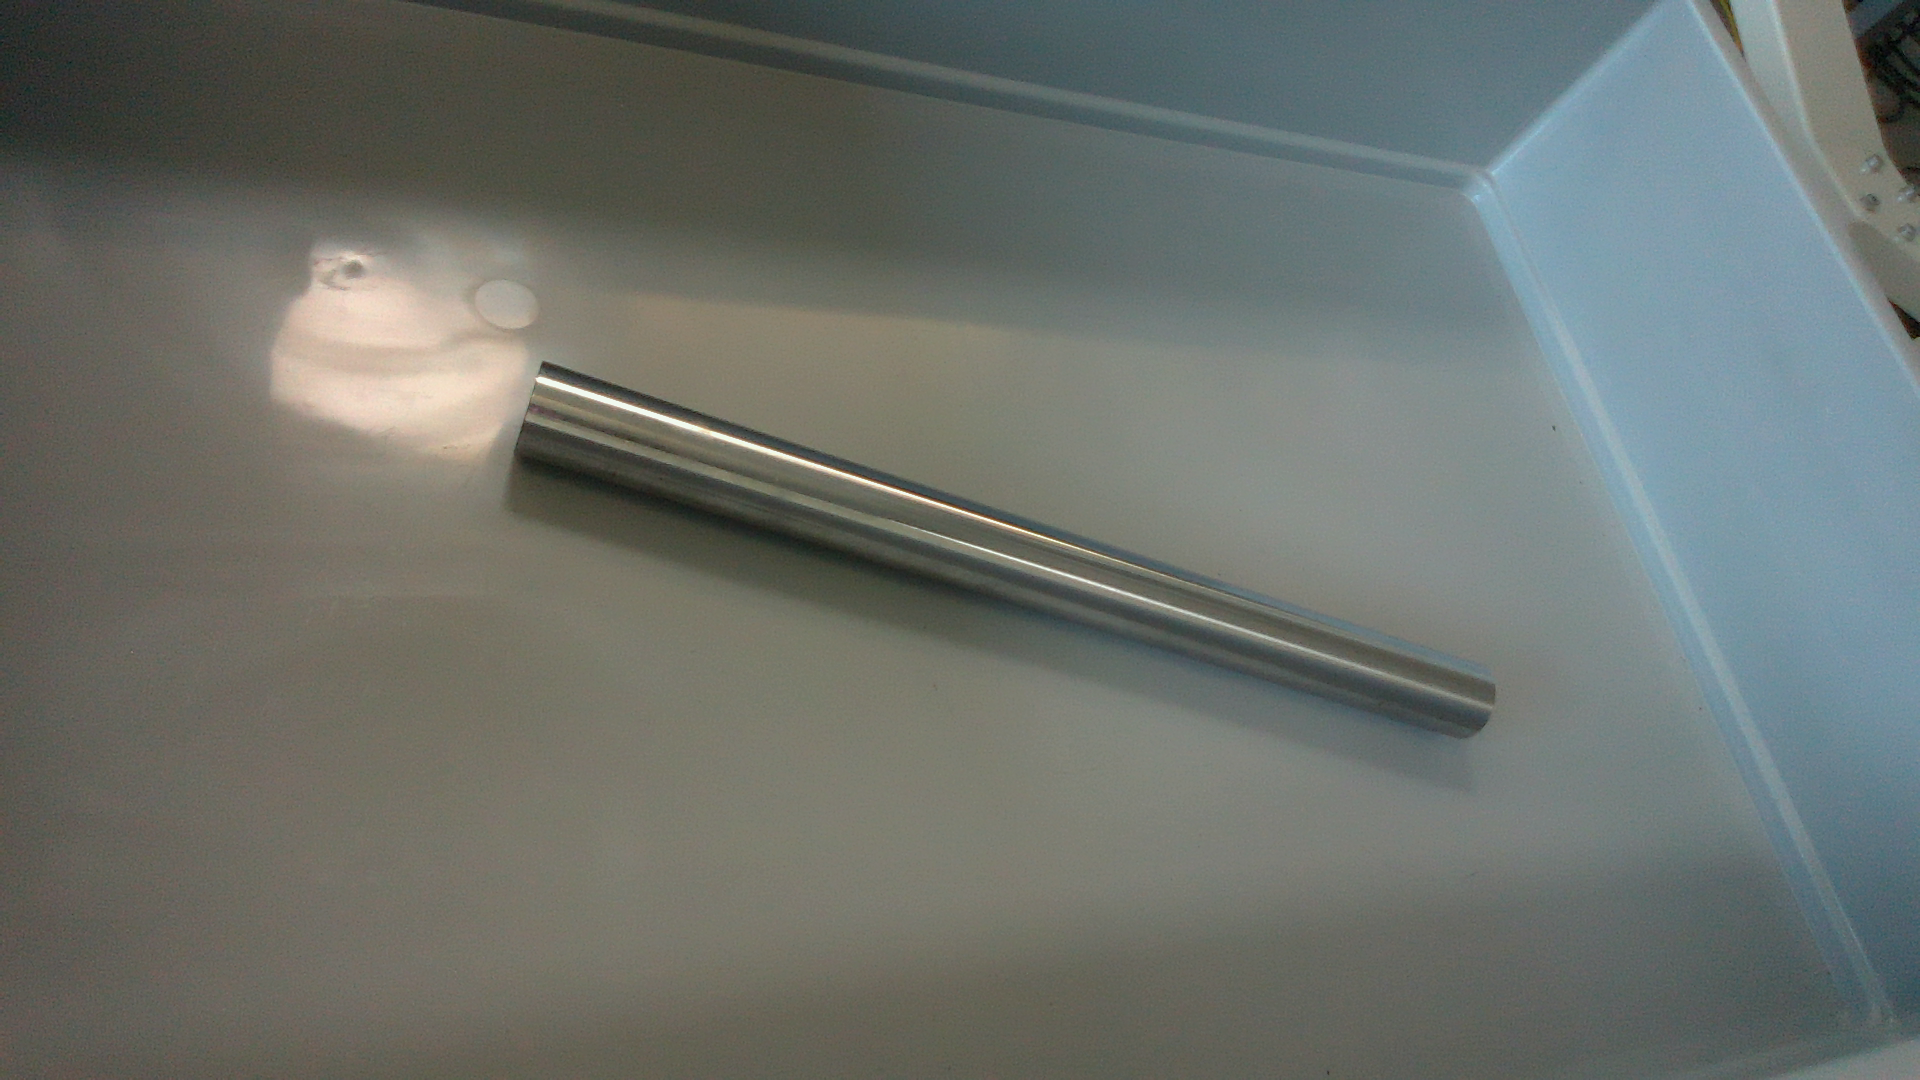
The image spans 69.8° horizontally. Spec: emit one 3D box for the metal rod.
[{"bbox_3d":[0.025,0.009,0.396,0.301,0.025,0.025,17,55,-18],"label":"metal rod"}]
